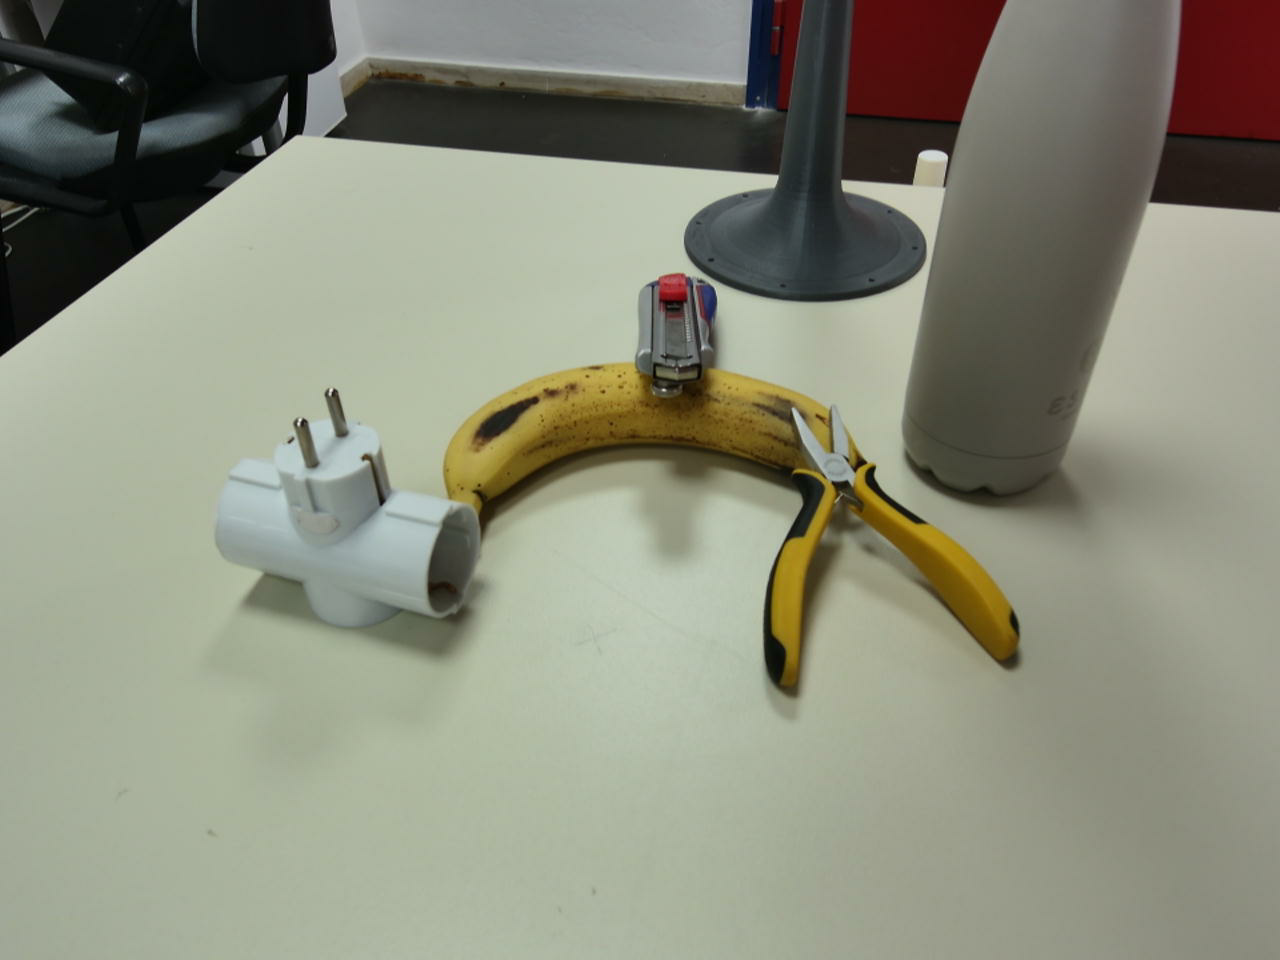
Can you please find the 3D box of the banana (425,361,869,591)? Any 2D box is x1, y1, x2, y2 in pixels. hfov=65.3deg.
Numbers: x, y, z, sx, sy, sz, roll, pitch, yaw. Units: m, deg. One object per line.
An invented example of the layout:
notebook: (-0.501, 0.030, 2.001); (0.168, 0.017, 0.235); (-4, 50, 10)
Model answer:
banana: (-0.003, -0.017, 0.445); (0.186, 0.038, 0.097); (-9, 39, -11)
